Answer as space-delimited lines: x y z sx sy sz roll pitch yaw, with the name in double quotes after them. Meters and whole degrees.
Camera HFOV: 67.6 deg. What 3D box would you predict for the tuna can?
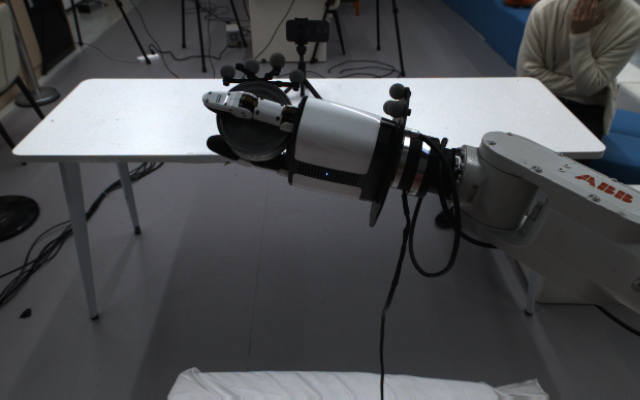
-0.070 -0.089 0.544 0.085 0.034 0.085 0 74 0 "tuna can"
